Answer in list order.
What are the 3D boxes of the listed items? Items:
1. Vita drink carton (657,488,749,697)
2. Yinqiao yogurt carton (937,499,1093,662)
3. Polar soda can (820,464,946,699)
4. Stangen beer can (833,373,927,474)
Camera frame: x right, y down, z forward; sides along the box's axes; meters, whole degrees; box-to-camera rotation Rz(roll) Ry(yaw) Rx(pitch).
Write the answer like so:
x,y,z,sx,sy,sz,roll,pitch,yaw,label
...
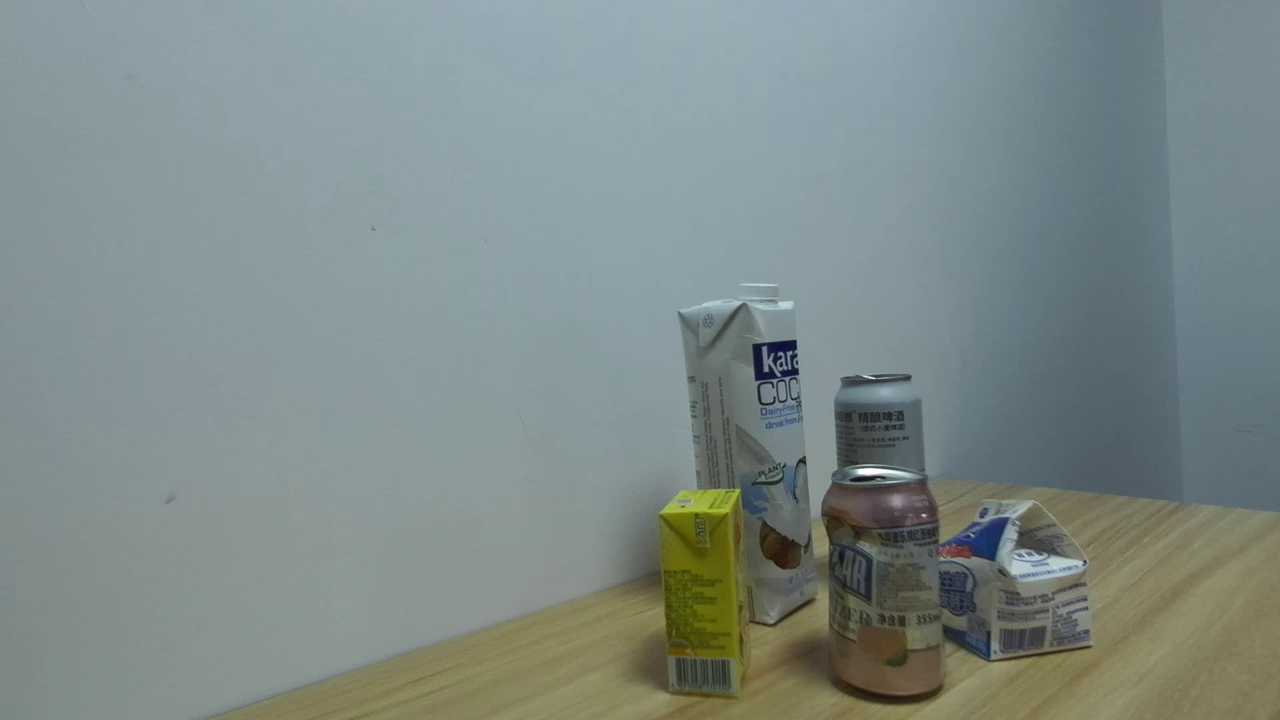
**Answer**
x,y,z,sx,sy,sz,roll,pitch,yaw,label
0.041,0.138,0.433,0.043,0.109,0.067,-4,2,14,Vita drink carton
0.236,0.133,0.458,0.077,0.093,0.083,-4,1,-10,Yinqiao yogurt carton
0.142,0.128,0.414,0.067,0.121,0.074,-2,0,26,Polar soda can
0.189,0.097,0.560,0.067,0.171,0.067,-4,1,0,Stangen beer can
